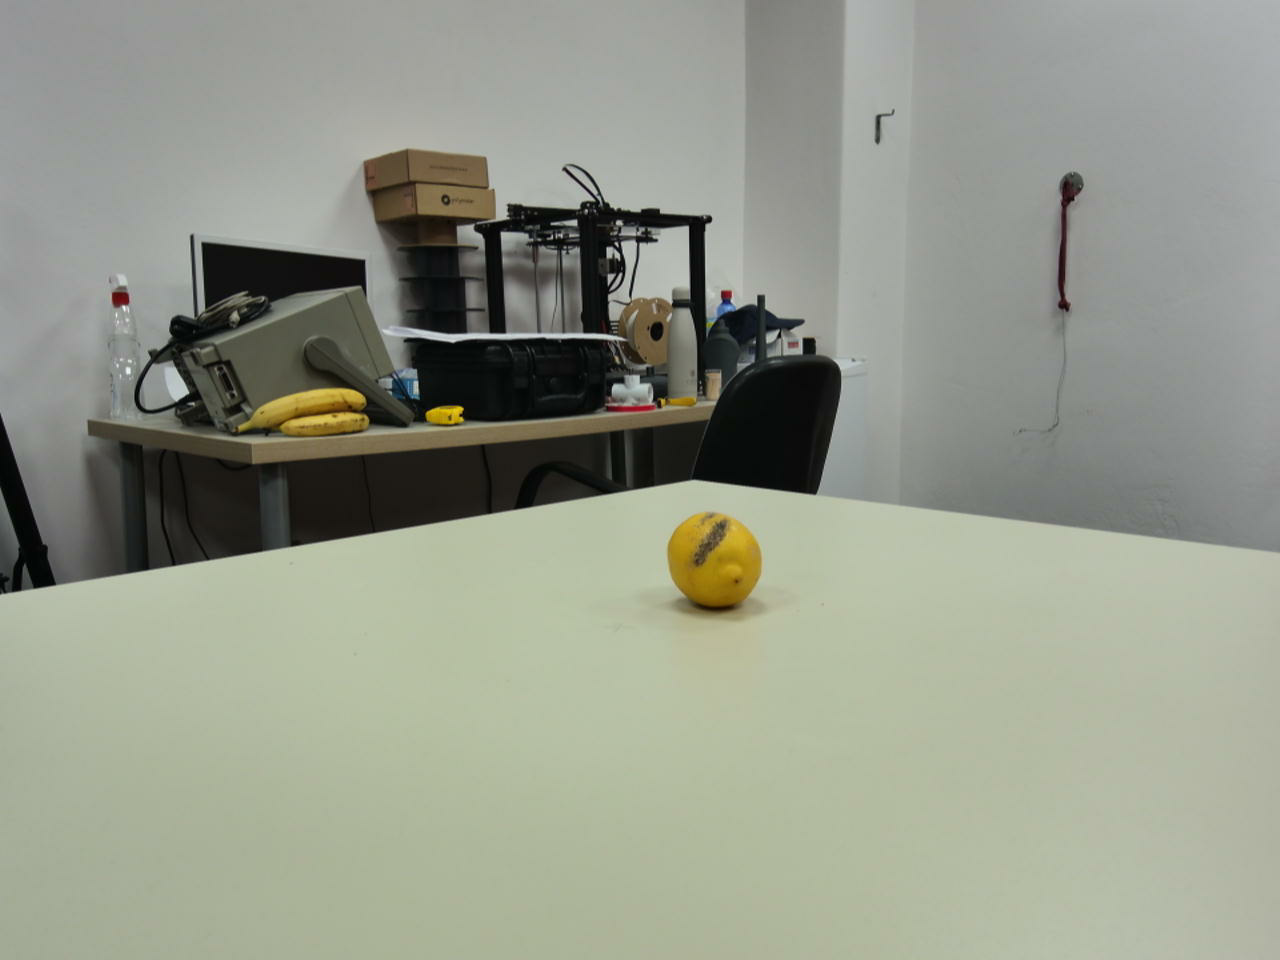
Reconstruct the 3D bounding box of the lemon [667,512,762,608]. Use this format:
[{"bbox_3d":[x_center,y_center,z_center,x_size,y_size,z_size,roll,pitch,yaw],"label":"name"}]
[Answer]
[{"bbox_3d":[0.046,0.049,0.614,0.061,0.056,0.058,6,8,38],"label":"lemon"}]
